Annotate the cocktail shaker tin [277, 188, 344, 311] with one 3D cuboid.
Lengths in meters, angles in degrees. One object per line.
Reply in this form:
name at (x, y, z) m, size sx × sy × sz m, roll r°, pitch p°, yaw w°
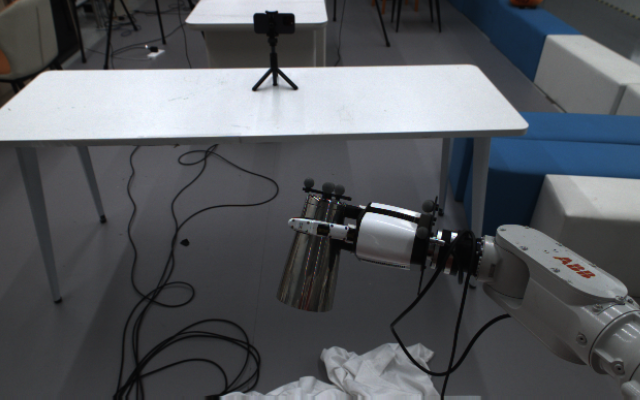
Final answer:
cocktail shaker tin at (-0.006, 0.079, 0.775) m, size 0.093 × 0.170 × 0.093 m, roll 12°, pitch 3°, yaw -1°
